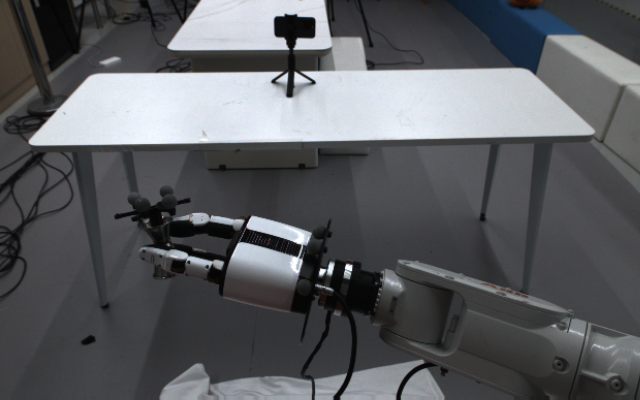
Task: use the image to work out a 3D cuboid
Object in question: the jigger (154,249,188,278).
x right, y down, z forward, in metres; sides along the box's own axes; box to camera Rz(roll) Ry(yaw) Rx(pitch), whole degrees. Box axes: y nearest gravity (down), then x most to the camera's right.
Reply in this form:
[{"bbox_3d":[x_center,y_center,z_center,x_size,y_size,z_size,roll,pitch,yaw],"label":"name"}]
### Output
[{"bbox_3d":[-0.193,0.059,0.606,0.043,0.071,0.043,-10,16,3],"label":"jigger"}]
